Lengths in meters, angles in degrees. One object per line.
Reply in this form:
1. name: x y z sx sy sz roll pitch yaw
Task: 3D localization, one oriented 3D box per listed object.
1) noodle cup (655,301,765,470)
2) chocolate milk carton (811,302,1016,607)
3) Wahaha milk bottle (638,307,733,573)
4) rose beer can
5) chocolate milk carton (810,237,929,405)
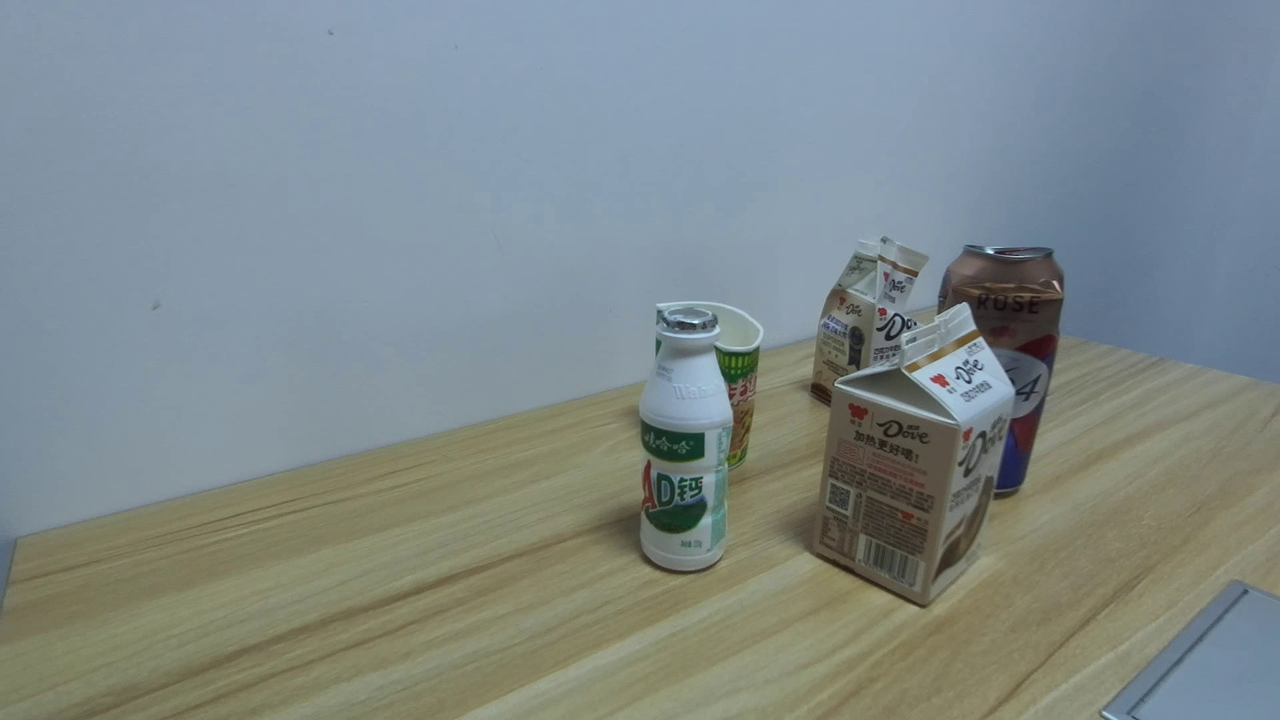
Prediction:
1. noodle cup: 0.048 0.021 0.518 0.070 0.111 0.115 2 19 1
2. chocolate milk carton: 0.153 0.045 0.391 0.076 0.148 0.073 -17 28 -41
3. Wahaha milk bottle: 0.026 0.044 0.394 0.056 0.147 0.056 0 18 0
4. rose beer can: 0.240 0.006 0.483 0.075 0.167 0.065 9 20 33
5. chocolate milk carton: 0.205 -0.034 0.612 0.076 0.155 0.073 -9 23 -24
